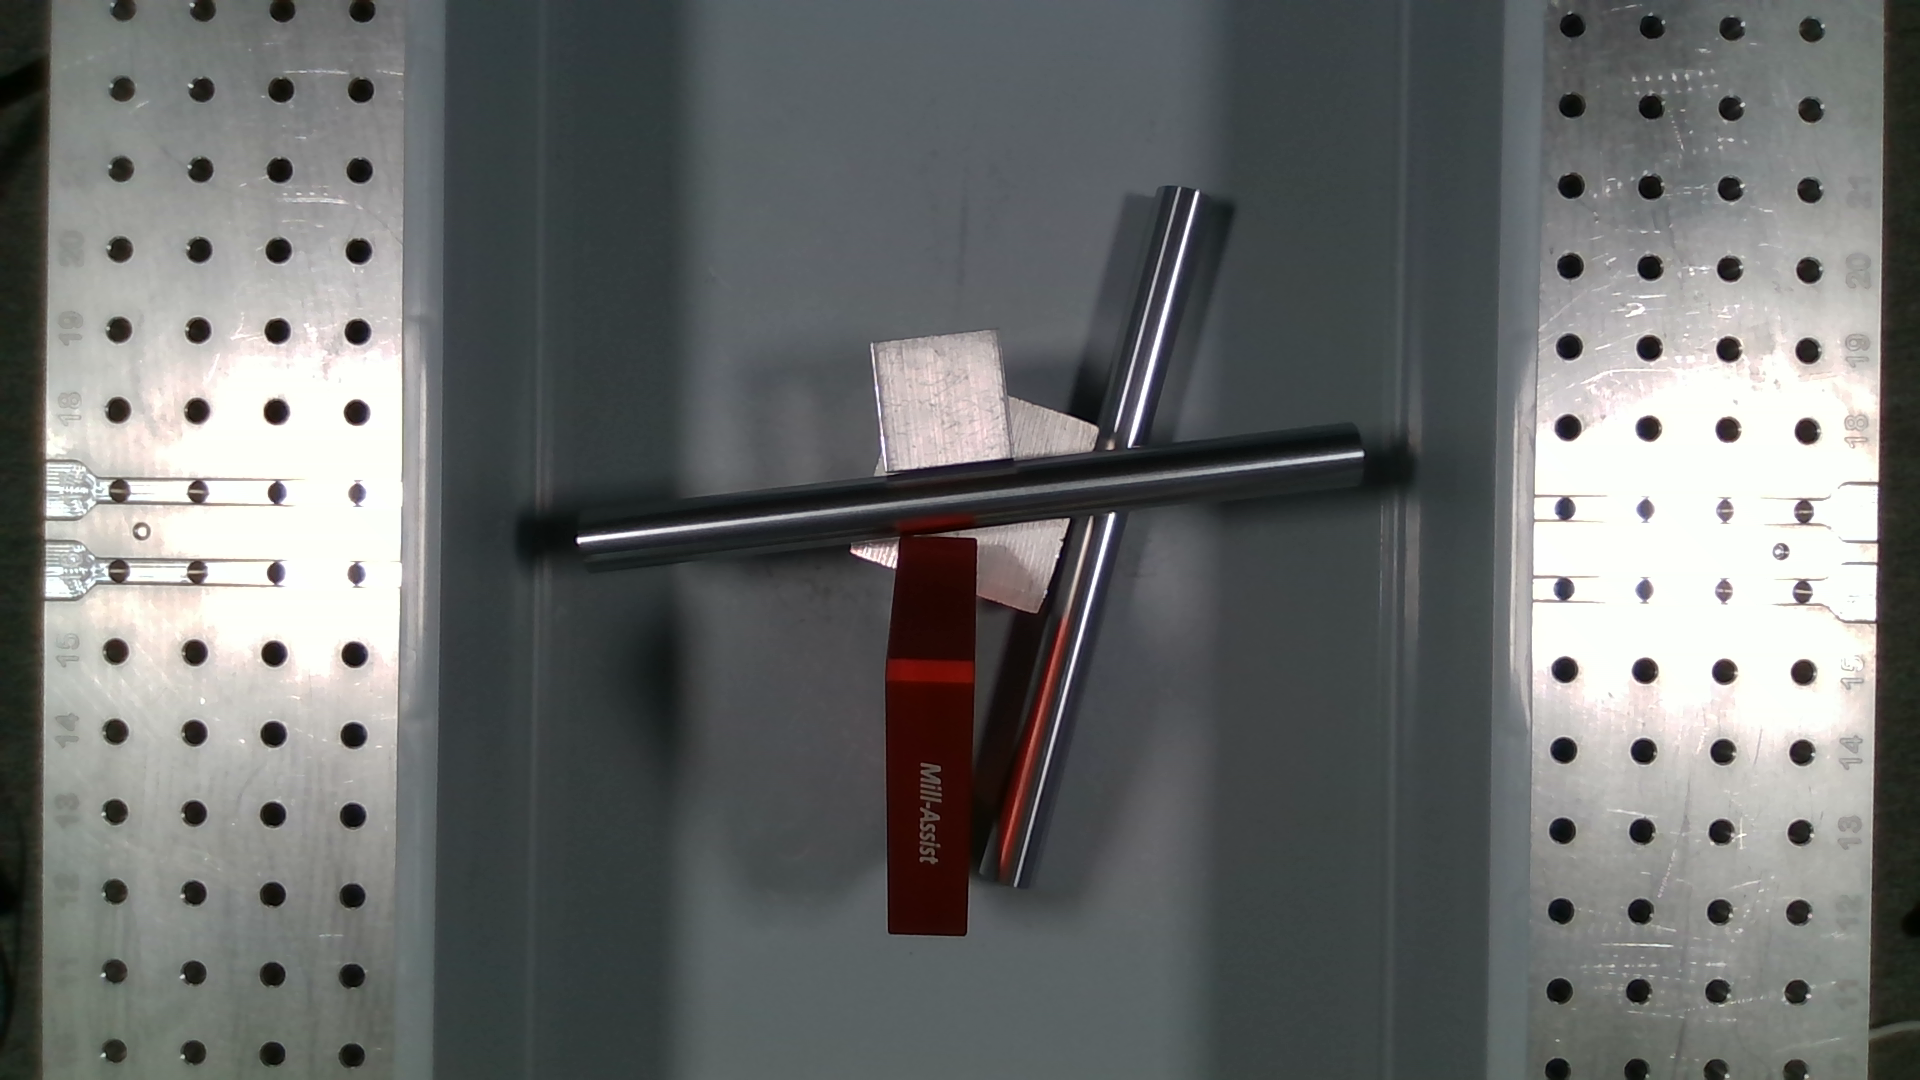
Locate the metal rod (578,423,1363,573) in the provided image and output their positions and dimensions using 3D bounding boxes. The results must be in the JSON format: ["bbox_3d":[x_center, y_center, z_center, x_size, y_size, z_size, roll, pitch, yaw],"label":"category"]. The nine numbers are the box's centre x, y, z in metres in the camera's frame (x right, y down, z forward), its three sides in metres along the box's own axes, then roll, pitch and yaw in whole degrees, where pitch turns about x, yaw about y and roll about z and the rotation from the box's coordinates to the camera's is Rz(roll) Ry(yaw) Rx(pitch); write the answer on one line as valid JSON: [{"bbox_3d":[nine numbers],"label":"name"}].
[{"bbox_3d":[0.004,-0.016,0.536,0.300,0.025,0.025,-7,90,0],"label":"metal rod"}]

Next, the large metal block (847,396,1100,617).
[{"bbox_3d":[0.005,-0.020,0.574,0.080,0.050,0.080,18,90,0],"label":"large metal block"}]

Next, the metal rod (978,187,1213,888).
[{"bbox_3d":[0.057,-0.001,0.587,0.025,0.025,0.300,15,90,0],"label":"metal rod"}]

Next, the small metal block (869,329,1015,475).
[{"bbox_3d":[-0.007,-0.053,0.535,0.050,0.025,0.050,-7,91,-1],"label":"small metal block"}]

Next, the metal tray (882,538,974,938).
[{"bbox_3d":[-0.011,0.076,0.528,0.030,0.090,0.130,1,122,1],"label":"metal tray"}]
